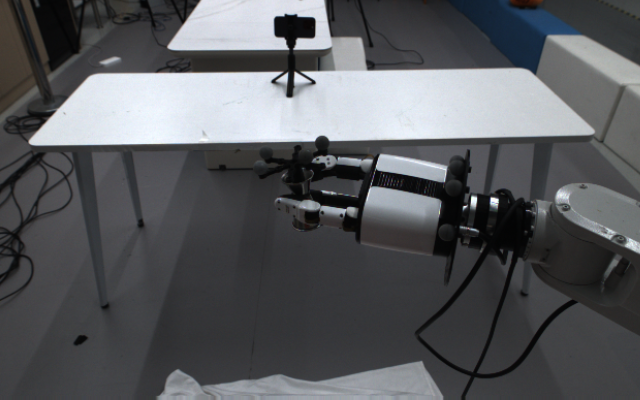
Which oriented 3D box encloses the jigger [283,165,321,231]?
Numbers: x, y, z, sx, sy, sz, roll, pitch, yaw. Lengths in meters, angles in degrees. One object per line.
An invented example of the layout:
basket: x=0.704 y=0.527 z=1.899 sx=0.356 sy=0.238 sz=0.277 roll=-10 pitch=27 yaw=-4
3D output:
jigger: x=-0.020 y=-0.001 z=0.600 sx=0.043 sy=0.071 sz=0.043 roll=-10 pitch=31 yaw=6
